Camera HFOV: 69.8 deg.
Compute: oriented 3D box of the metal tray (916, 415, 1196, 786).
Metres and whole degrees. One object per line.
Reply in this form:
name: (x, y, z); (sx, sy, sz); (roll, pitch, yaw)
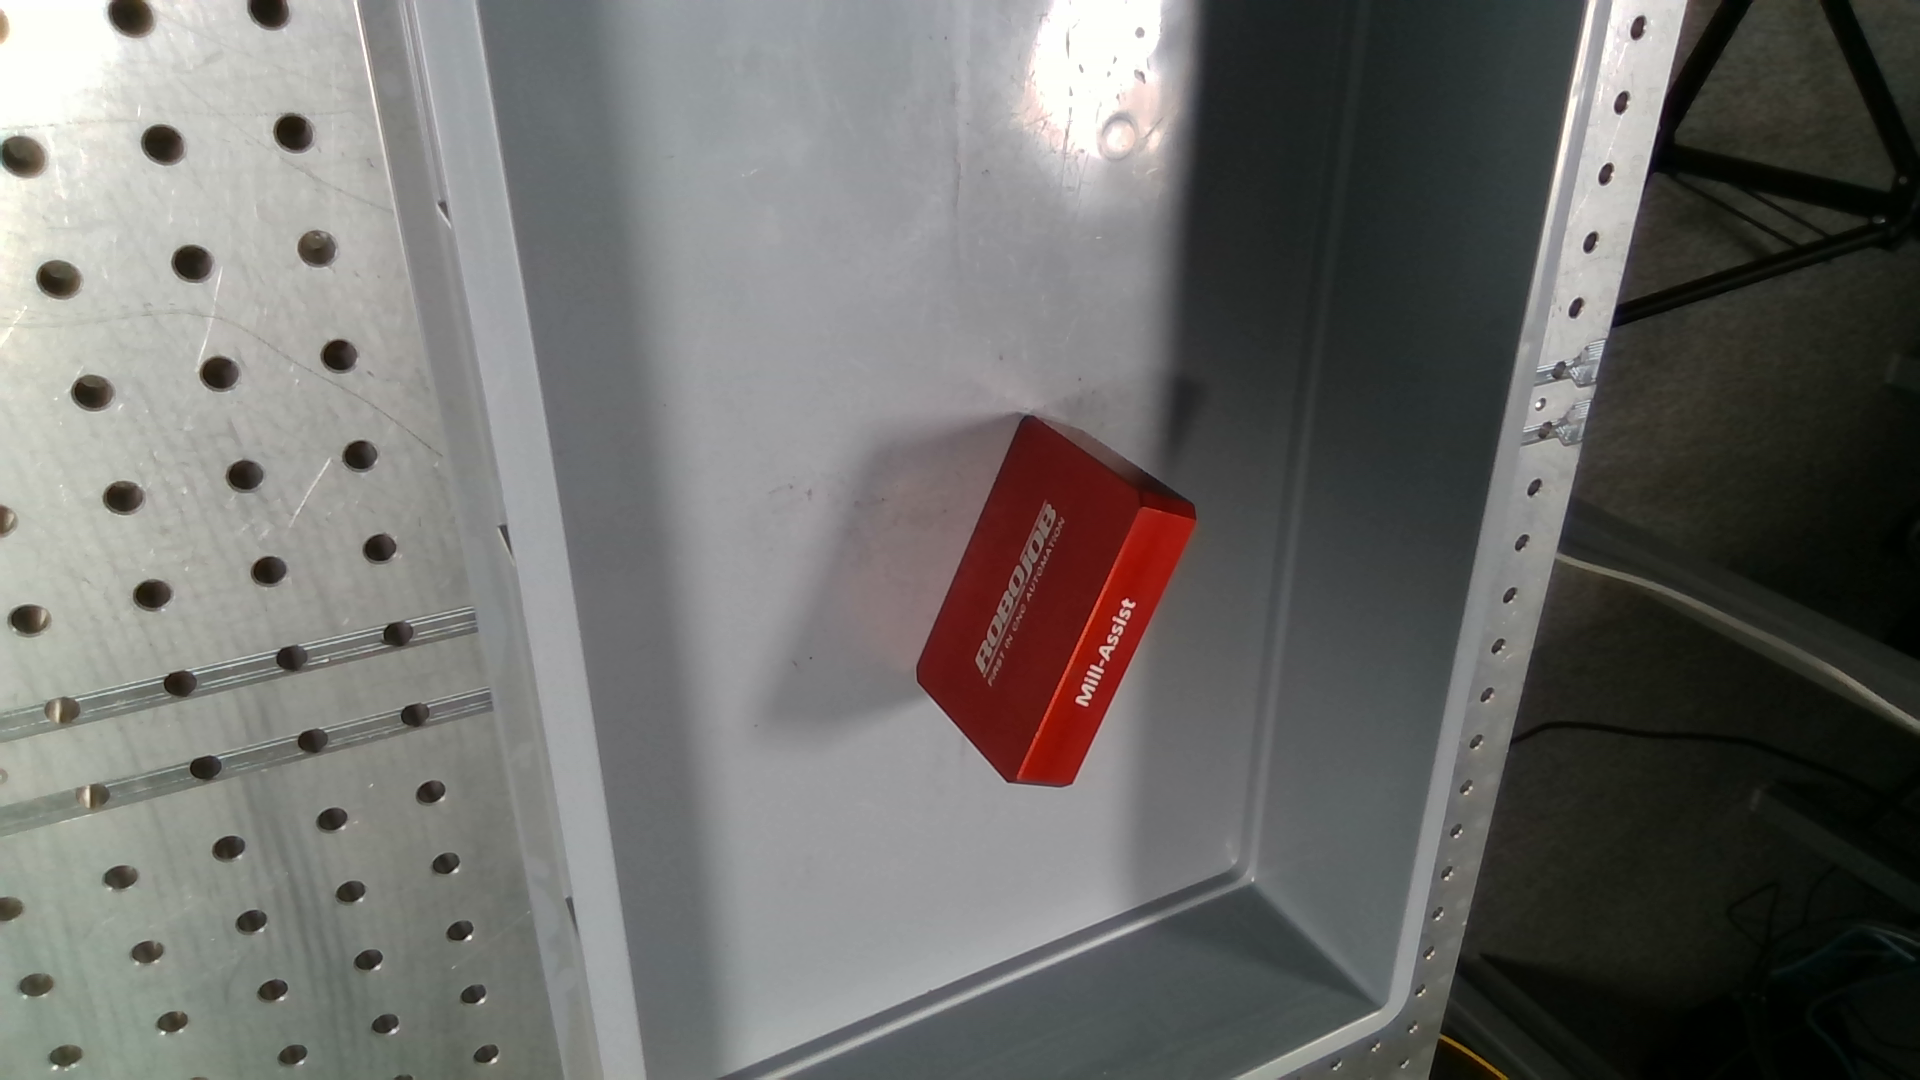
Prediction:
metal tray: (0.036, 0.025, 0.570); (0.030, 0.090, 0.130); (12, 109, -35)
